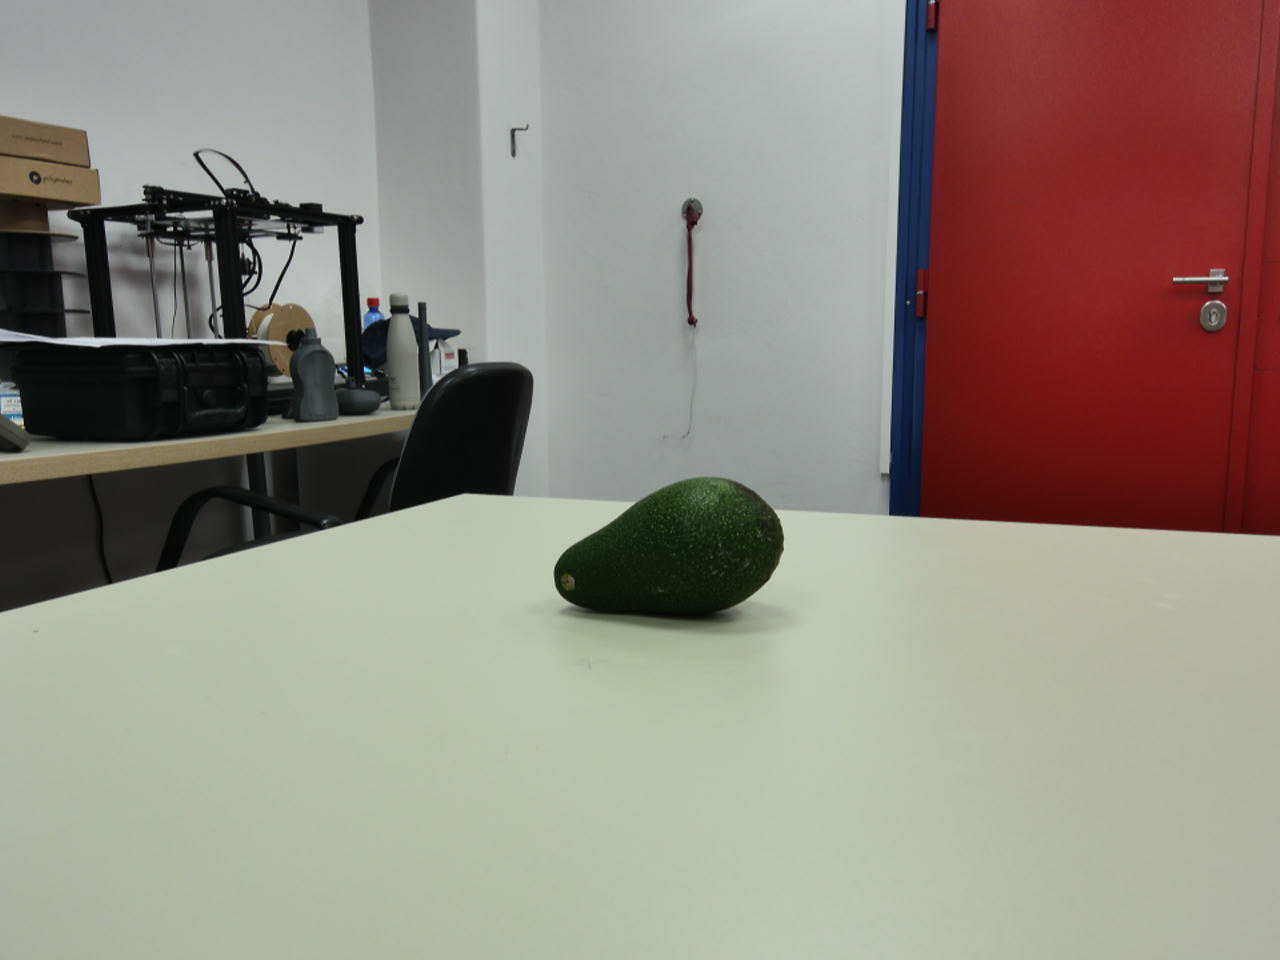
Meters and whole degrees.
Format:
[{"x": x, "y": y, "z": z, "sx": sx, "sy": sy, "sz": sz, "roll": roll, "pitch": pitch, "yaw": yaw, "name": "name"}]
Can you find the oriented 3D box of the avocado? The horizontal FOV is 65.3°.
[{"x": 0.020, "y": 0.035, "z": 0.550, "sx": 0.123, "sy": 0.076, "sz": 0.074, "roll": 3, "pitch": 7, "yaw": 30, "name": "avocado"}]
